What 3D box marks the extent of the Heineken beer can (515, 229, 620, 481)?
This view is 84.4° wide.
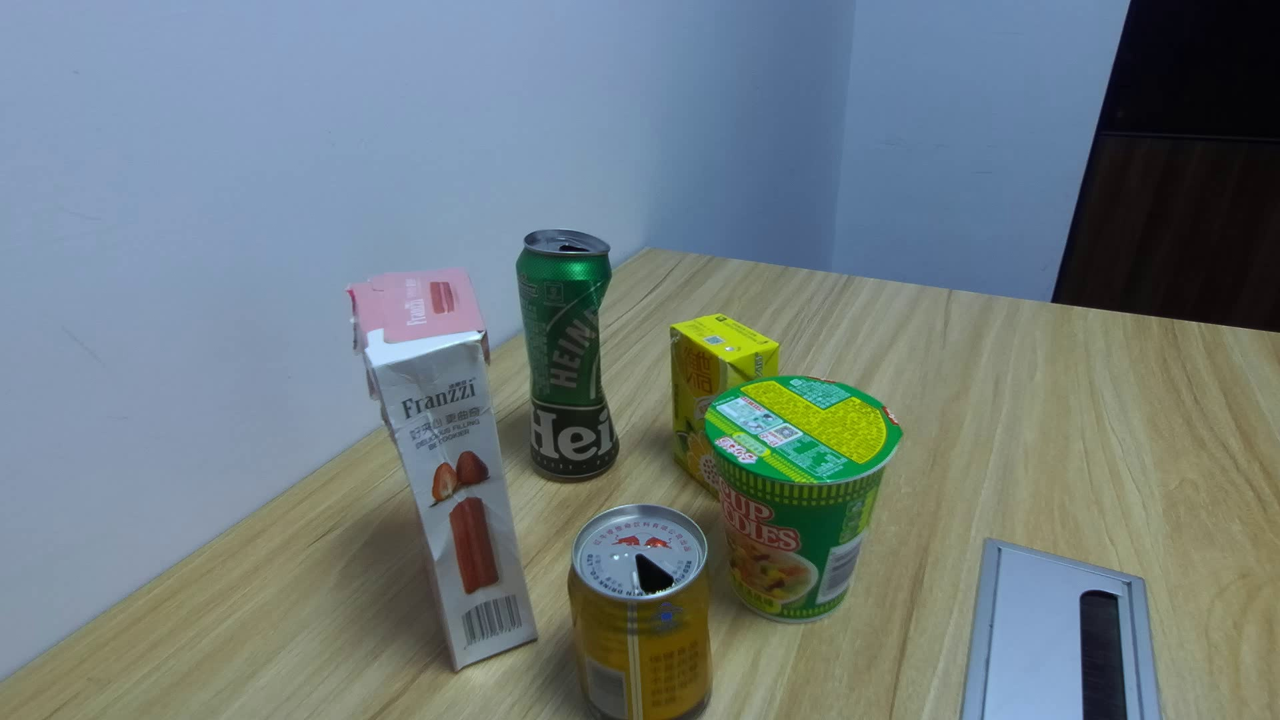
[{"bbox_3d":[-0.046,-0.001,0.485,0.069,0.168,0.068,14,29,24],"label":"Heineken beer can"}]

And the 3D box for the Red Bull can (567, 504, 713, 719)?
[{"bbox_3d":[0.002,0.126,0.335,0.068,0.093,0.068,-3,27,2],"label":"Red Bull can"}]

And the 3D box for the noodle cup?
[{"bbox_3d":[0.083,0.079,0.381,0.097,0.110,0.097,-3,28,2],"label":"noodle cup"}]

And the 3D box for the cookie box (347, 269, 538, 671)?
[{"bbox_3d":[-0.100,0.058,0.363,0.059,0.186,0.104,-12,27,-20],"label":"cookie box"}]

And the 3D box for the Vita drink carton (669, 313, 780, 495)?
[{"bbox_3d":[0.053,0.029,0.473,0.043,0.109,0.076,-16,30,-25],"label":"Vita drink carton"}]
